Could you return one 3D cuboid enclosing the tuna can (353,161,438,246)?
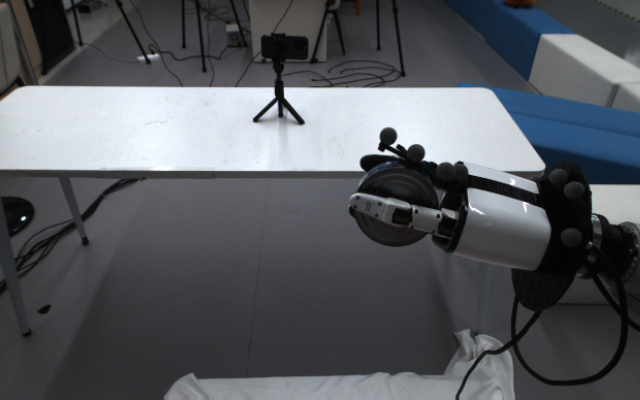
[{"bbox_3d":[0.081,0.002,0.506,0.085,0.085,0.034,7,16,6],"label":"tuna can"}]
